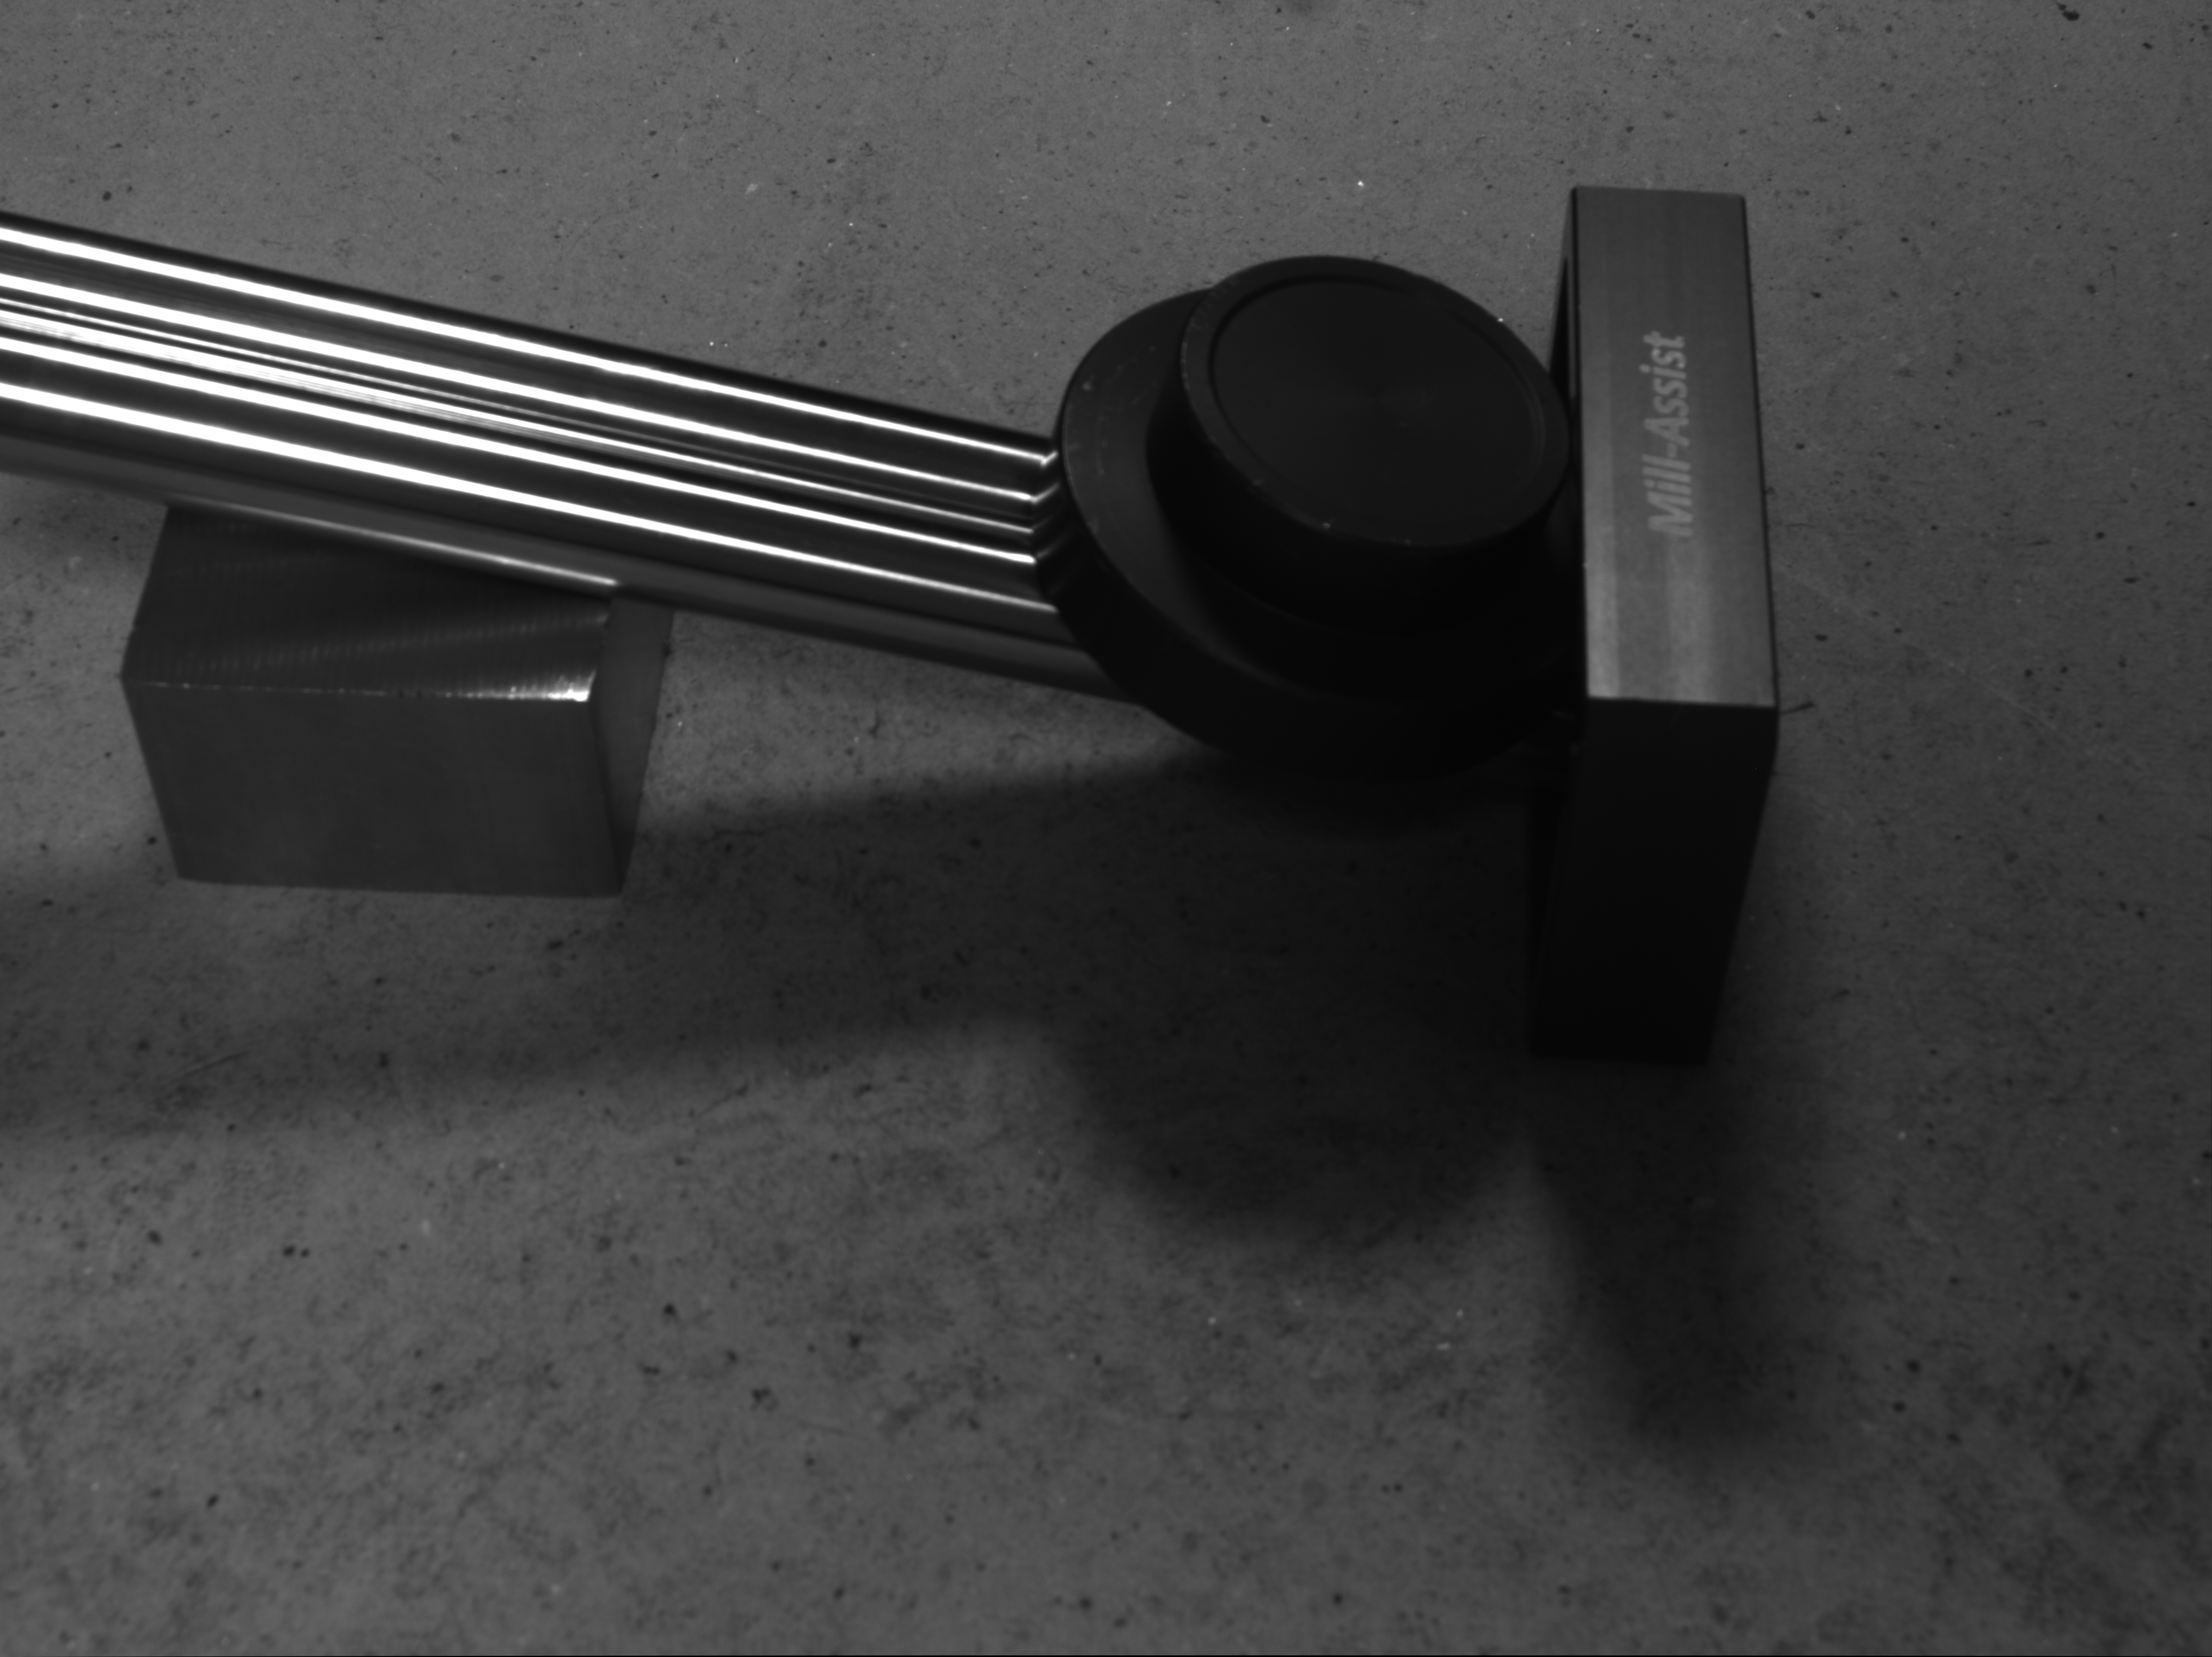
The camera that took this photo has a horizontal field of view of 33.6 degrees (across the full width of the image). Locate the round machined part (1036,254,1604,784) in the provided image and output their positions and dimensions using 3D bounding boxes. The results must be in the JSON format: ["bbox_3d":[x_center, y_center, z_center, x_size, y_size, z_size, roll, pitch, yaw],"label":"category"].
[{"bbox_3d":[0.040,-0.058,0.617,0.098,0.042,0.098,7,51,-8],"label":"round machined part"}]

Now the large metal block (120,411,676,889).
[{"bbox_3d":[-0.122,-0.038,0.653,0.080,0.050,0.080,3,50,2],"label":"large metal block"}]

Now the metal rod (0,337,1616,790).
[{"bbox_3d":[-0.060,-0.046,0.622,0.300,0.025,0.025,11,49,-8],"label":"metal rod"}]

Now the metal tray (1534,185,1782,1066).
[{"bbox_3d":[0.092,-0.036,0.629,0.030,0.090,0.130,3,50,3],"label":"metal tray"}]

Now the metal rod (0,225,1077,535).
[{"bbox_3d":[-0.058,-0.066,0.639,0.300,0.025,0.025,10,49,-8],"label":"metal rod"}]
